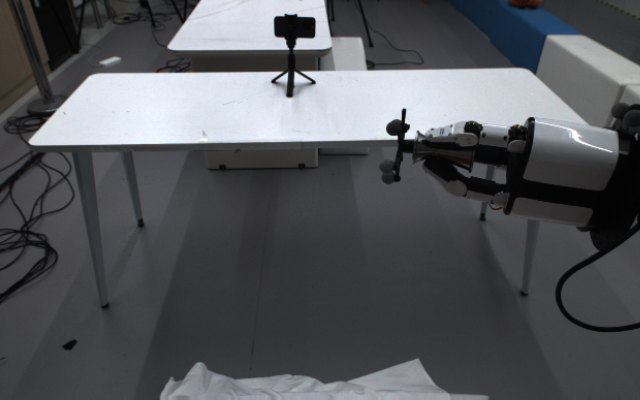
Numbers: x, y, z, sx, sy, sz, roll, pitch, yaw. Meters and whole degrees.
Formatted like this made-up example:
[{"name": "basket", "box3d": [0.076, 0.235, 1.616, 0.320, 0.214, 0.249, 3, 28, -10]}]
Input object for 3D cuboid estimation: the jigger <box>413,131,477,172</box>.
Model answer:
[{"name": "jigger", "box3d": [0.152, -0.062, 0.570, 0.071, 0.043, 0.043, 8, 35, 13]}]
